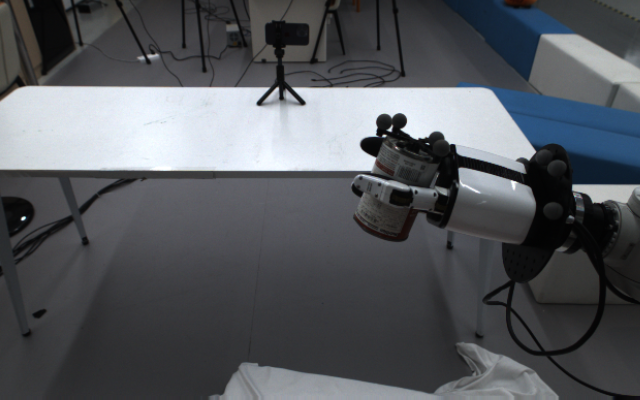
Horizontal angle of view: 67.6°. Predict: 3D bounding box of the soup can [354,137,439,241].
[{"bbox_3d":[0.088,-0.014,0.547,0.067,0.101,0.067,16,21,-7],"label":"soup can"}]
